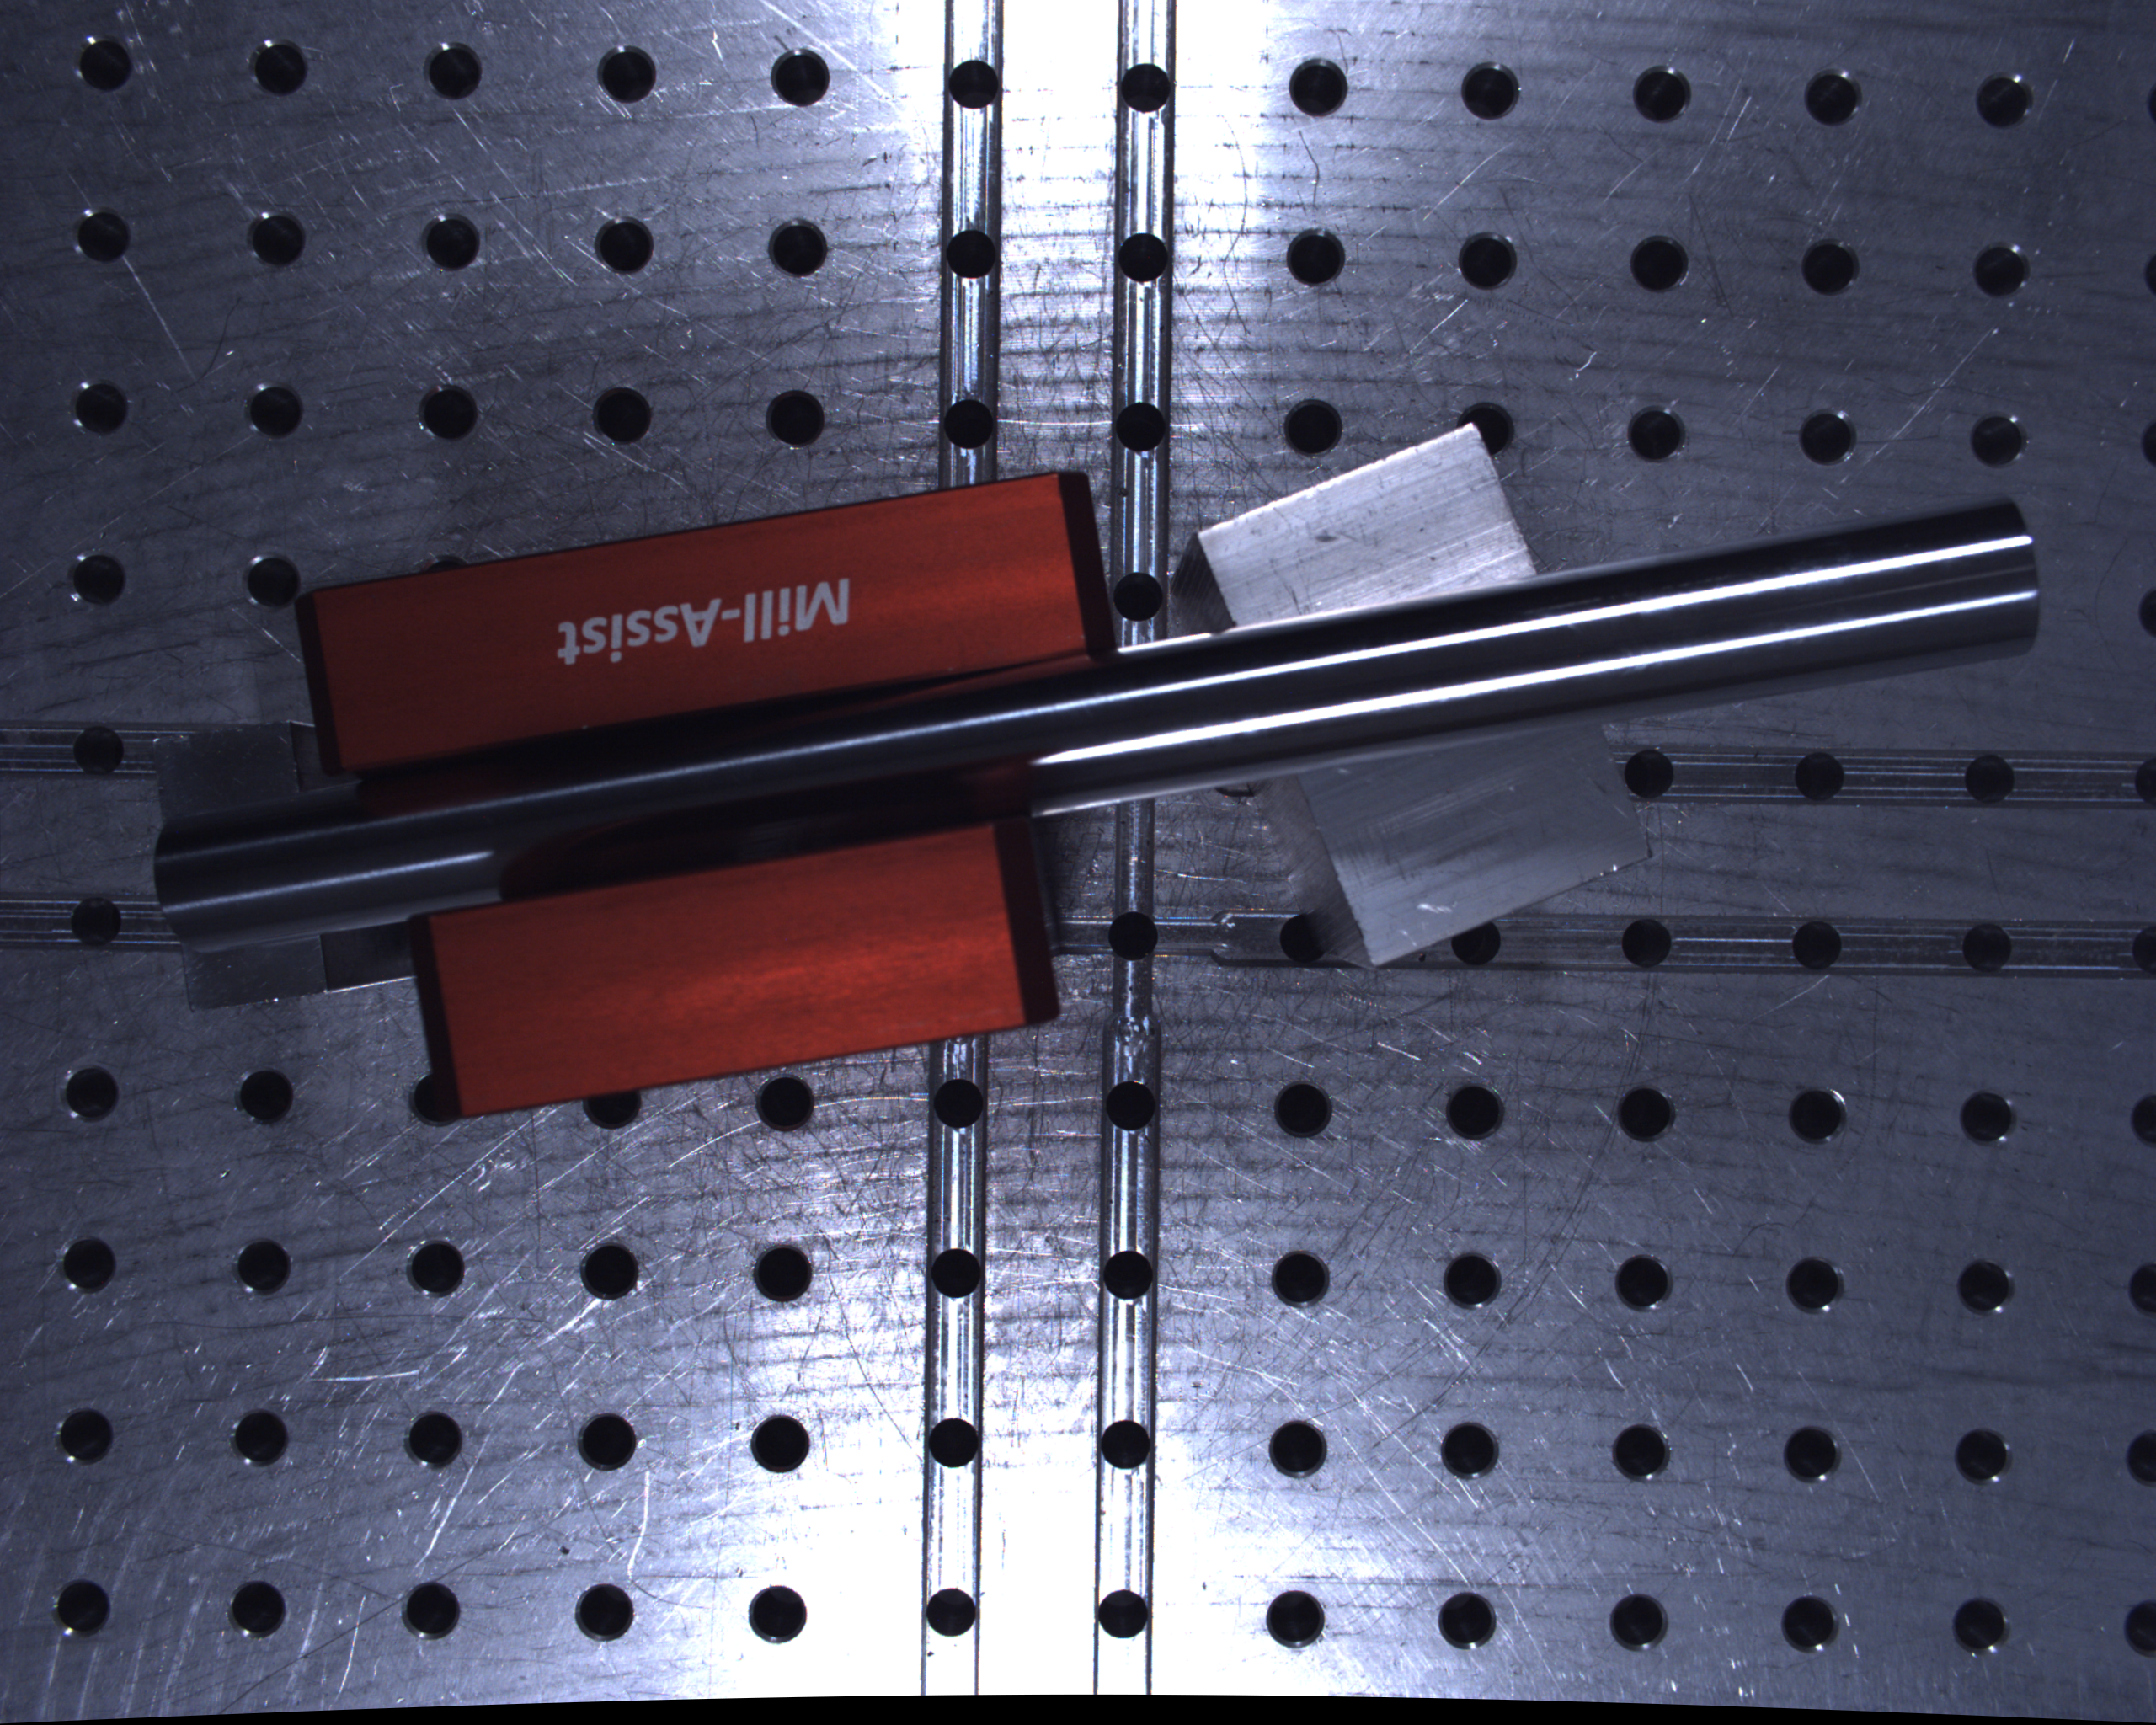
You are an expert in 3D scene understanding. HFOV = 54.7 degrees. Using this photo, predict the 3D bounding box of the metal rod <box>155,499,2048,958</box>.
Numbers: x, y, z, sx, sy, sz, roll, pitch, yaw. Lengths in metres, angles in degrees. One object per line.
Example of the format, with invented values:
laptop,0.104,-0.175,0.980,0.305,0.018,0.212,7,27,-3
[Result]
metal rod,-0.005,-0.019,0.338,0.301,0.025,0.025,-9,90,9

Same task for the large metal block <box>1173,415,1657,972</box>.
large metal block,0.057,-0.028,0.386,0.050,0.080,0.080,-23,90,0

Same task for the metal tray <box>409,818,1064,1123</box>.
metal tray,-0.050,0.015,0.360,0.091,0.130,0.030,-9,91,-1

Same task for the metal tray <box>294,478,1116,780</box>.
metal tray,-0.061,-0.039,0.379,0.131,0.090,0.030,-9,91,-1

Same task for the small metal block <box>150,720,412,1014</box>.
small metal block,-0.150,0.001,0.399,0.025,0.050,0.050,-8,90,0
